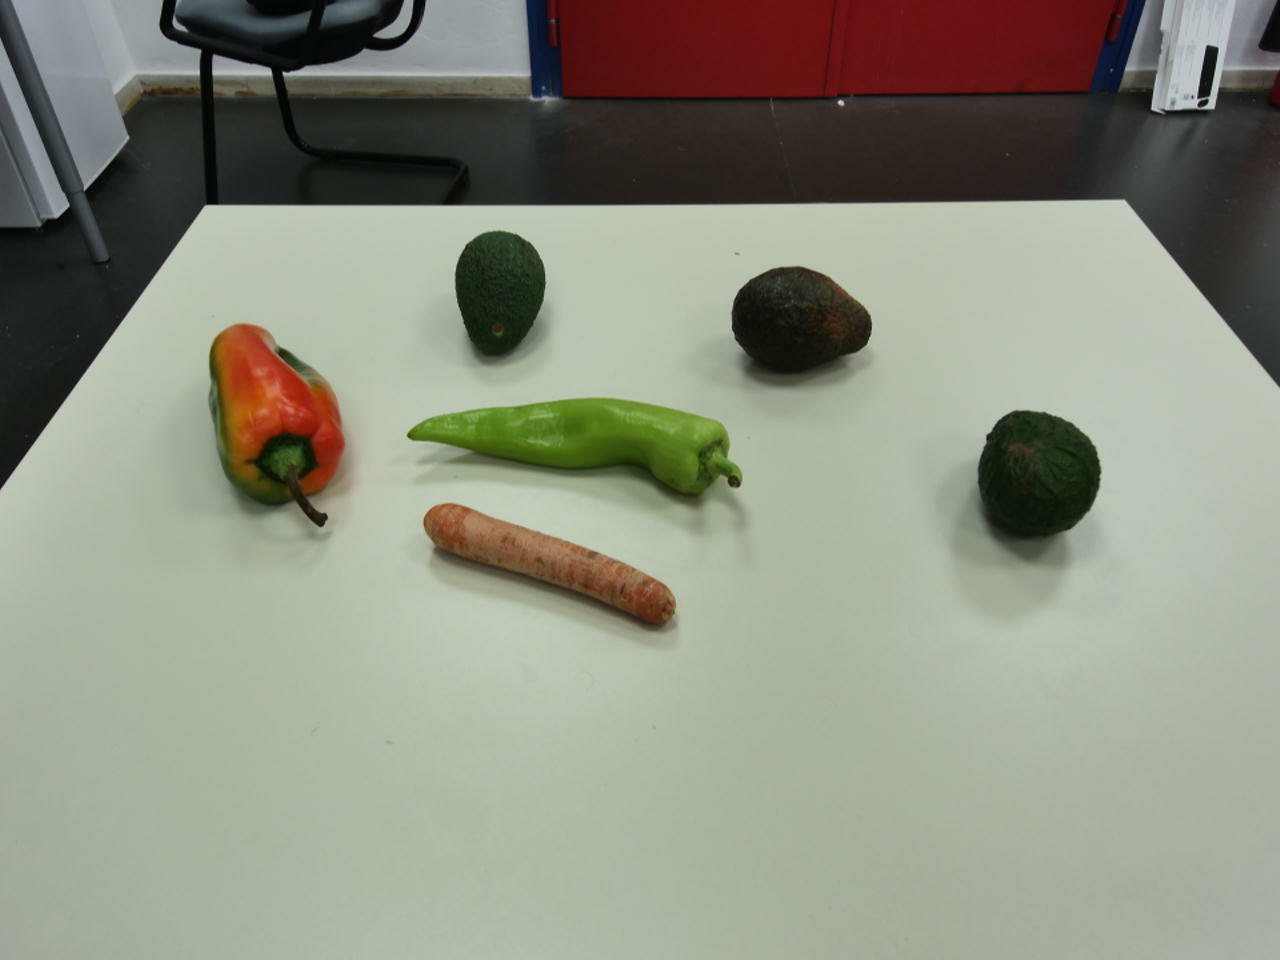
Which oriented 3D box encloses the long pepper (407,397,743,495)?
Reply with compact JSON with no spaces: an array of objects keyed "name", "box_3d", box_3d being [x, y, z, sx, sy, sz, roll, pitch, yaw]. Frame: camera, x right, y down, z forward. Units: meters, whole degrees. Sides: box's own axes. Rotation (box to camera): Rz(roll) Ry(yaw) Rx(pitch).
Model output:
[{"name":"long pepper","box_3d":[-0.034,-0.026,0.595,0.205,0.045,0.065,11,40,12]}]
